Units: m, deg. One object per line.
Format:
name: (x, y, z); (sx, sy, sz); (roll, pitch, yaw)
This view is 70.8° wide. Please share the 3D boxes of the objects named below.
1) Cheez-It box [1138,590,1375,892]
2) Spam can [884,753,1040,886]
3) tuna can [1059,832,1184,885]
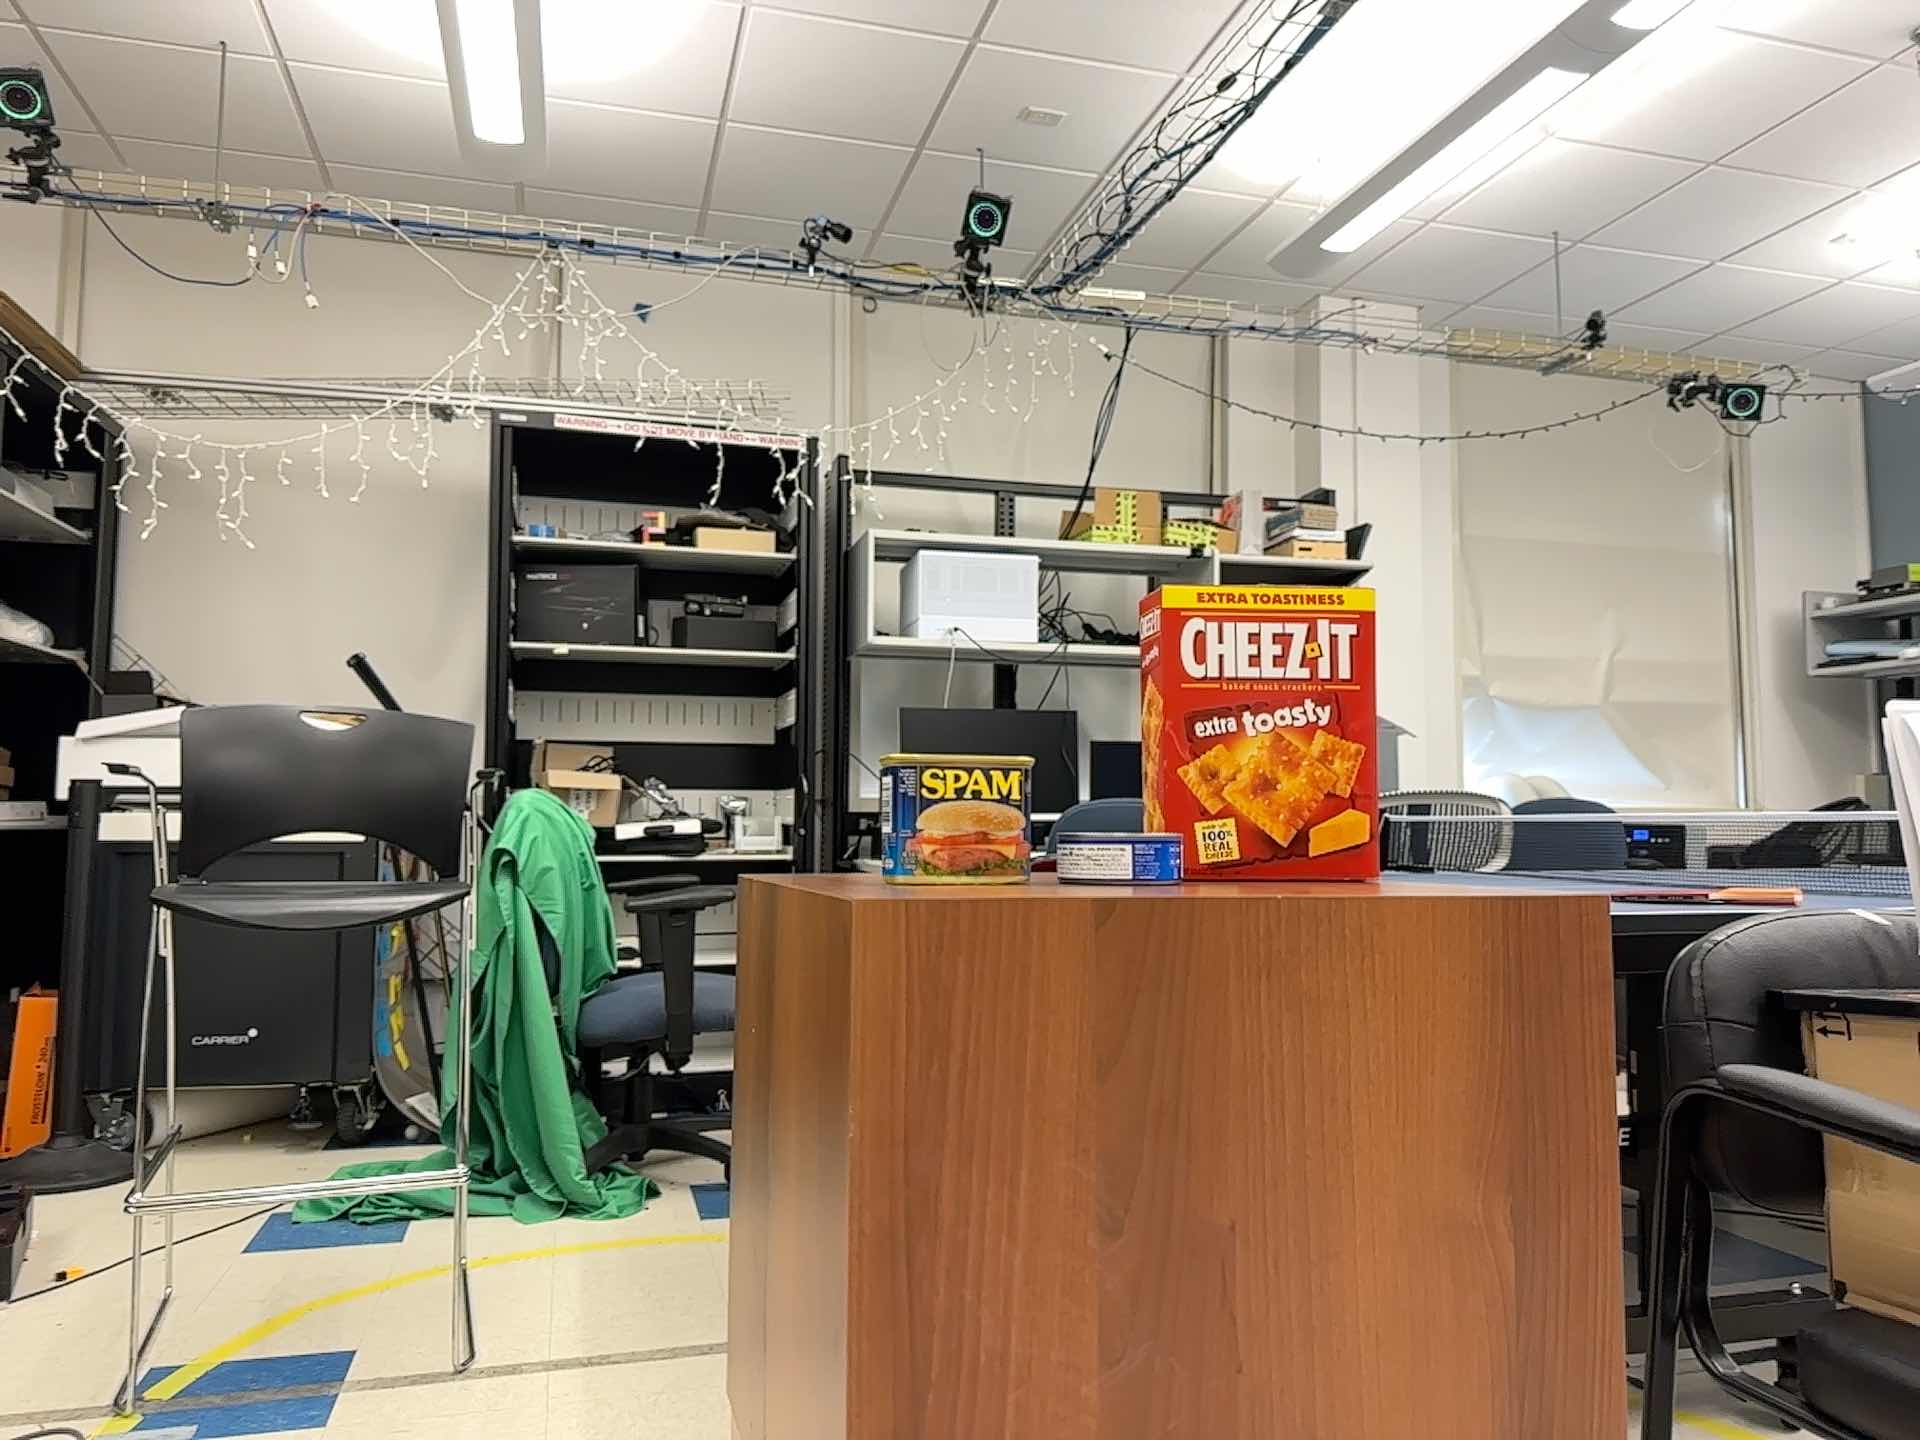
Cheez-It box: (0.223, 0.017, 1.019); (0.159, 0.214, 0.062); (1, -5, -10)
Spam can: (0.000, 0.066, 0.898); (0.100, 0.083, 0.056); (2, -6, -7)
tuna can: (0.109, 0.094, 0.919); (0.083, 0.034, 0.083); (-1, -7, 0)
